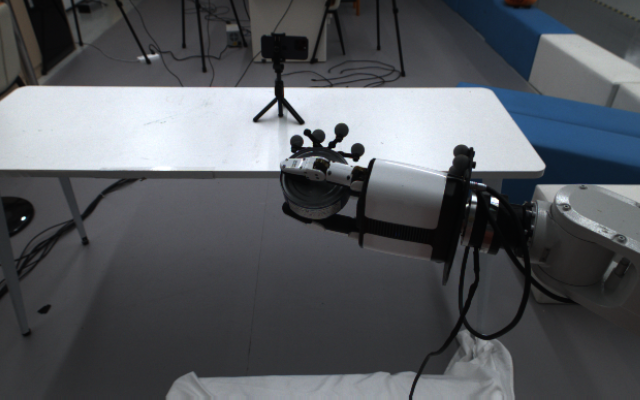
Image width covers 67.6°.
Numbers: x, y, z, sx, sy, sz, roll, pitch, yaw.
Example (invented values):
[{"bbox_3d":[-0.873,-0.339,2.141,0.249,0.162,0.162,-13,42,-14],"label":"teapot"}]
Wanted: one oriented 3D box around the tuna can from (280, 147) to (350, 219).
[{"bbox_3d":[-0.004,-0.023,0.587,0.085,0.034,0.085,-2,56,3],"label":"tuna can"}]
